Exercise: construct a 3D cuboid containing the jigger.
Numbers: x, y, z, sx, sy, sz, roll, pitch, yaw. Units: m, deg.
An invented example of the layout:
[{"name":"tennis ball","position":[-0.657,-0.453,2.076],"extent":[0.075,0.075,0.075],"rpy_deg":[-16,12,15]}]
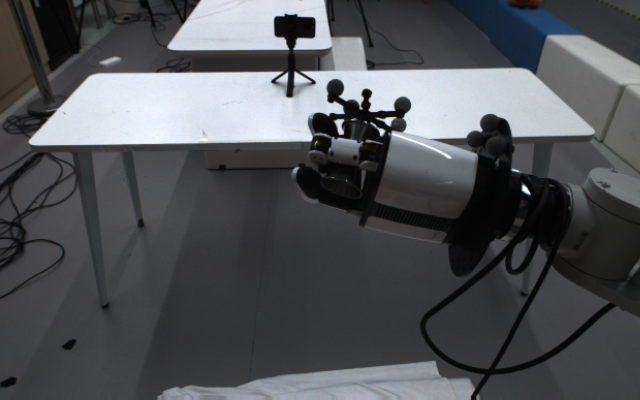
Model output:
[{"name":"jigger","position":[0.034,-0.040,0.487],"extent":[0.043,0.043,0.071],"rpy_deg":[13,72,15]}]
